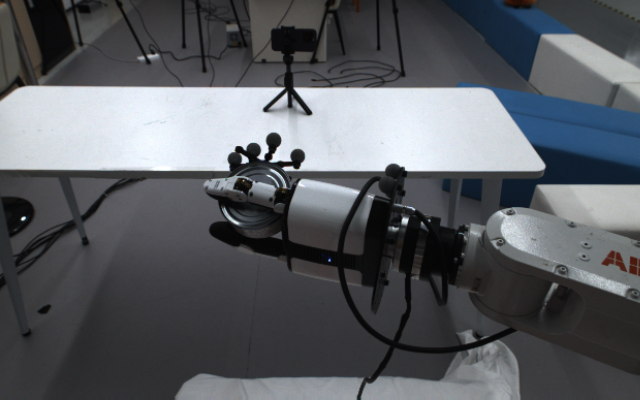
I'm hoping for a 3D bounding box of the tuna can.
[{"bbox_3d":[-0.069,0.001,0.557,0.085,0.034,0.085,-6,60,10],"label":"tuna can"}]
